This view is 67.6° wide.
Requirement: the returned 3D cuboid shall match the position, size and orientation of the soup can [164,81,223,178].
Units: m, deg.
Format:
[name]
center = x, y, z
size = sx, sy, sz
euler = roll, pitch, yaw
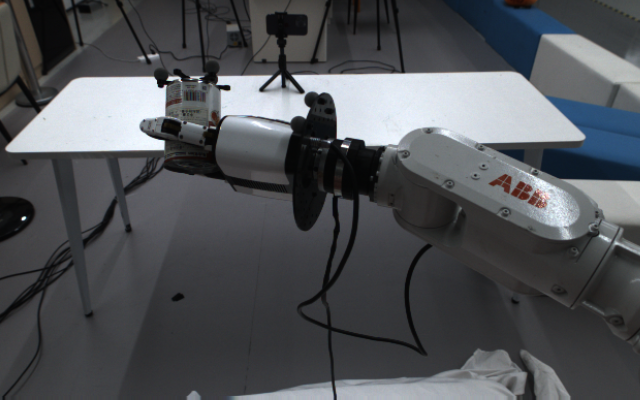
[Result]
[soup can]
center = -0.154, -0.087, 0.590
size = 0.067, 0.101, 0.067
euler = -1, -9, 0
